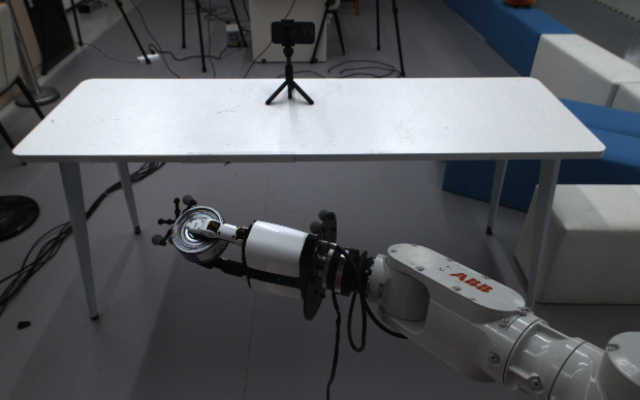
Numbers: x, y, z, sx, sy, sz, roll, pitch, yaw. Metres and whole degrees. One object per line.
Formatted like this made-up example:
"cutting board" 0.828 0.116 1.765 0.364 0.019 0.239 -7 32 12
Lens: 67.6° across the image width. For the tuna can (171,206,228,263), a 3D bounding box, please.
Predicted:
"tuna can" -0.183 0.052 0.750 0.085 0.034 0.085 -4 60 6
